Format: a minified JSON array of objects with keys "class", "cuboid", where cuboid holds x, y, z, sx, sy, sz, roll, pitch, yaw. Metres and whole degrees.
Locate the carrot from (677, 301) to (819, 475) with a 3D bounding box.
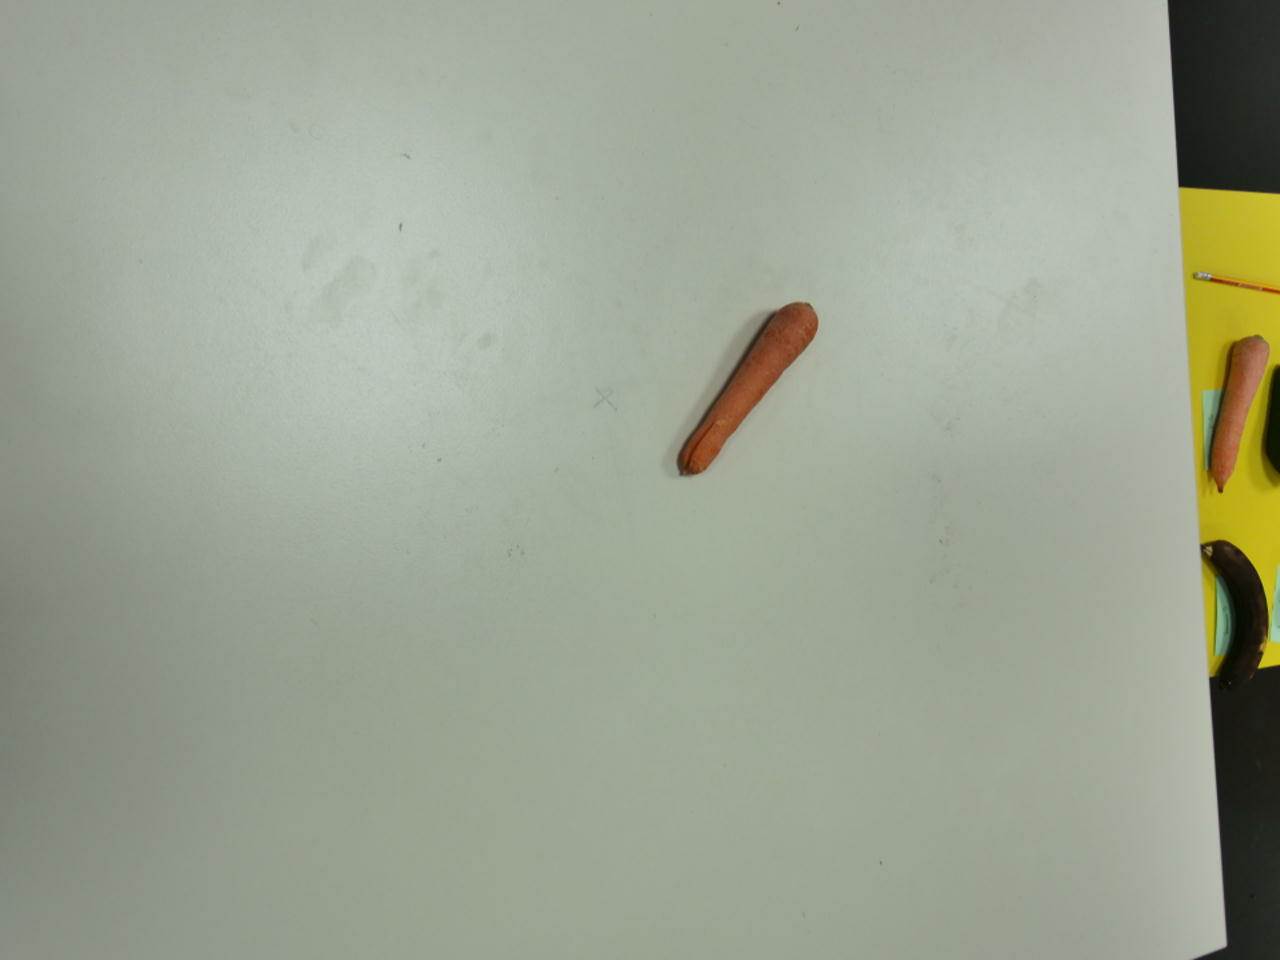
[{"class":"carrot","cuboid":[0.066,-0.058,0.613,0.030,0.032,0.136,41,75,-18]}]
